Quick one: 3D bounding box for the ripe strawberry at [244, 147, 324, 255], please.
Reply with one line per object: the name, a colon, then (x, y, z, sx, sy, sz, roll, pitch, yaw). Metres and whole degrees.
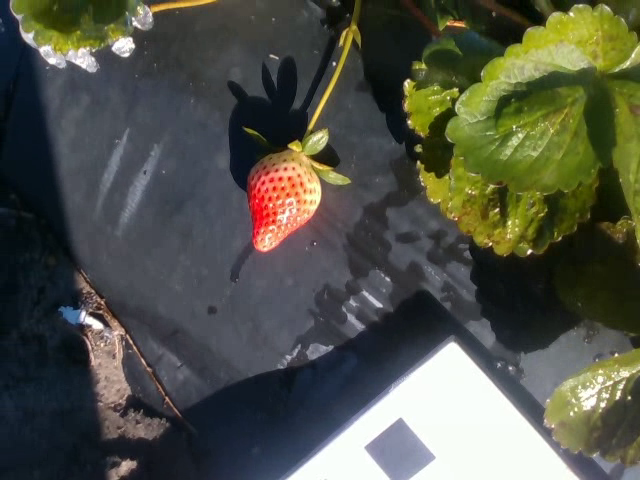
ripe strawberry: (-0.018, -0.015, 0.271, 0.039, 0.053, 0.041, 27, -8, 13)
